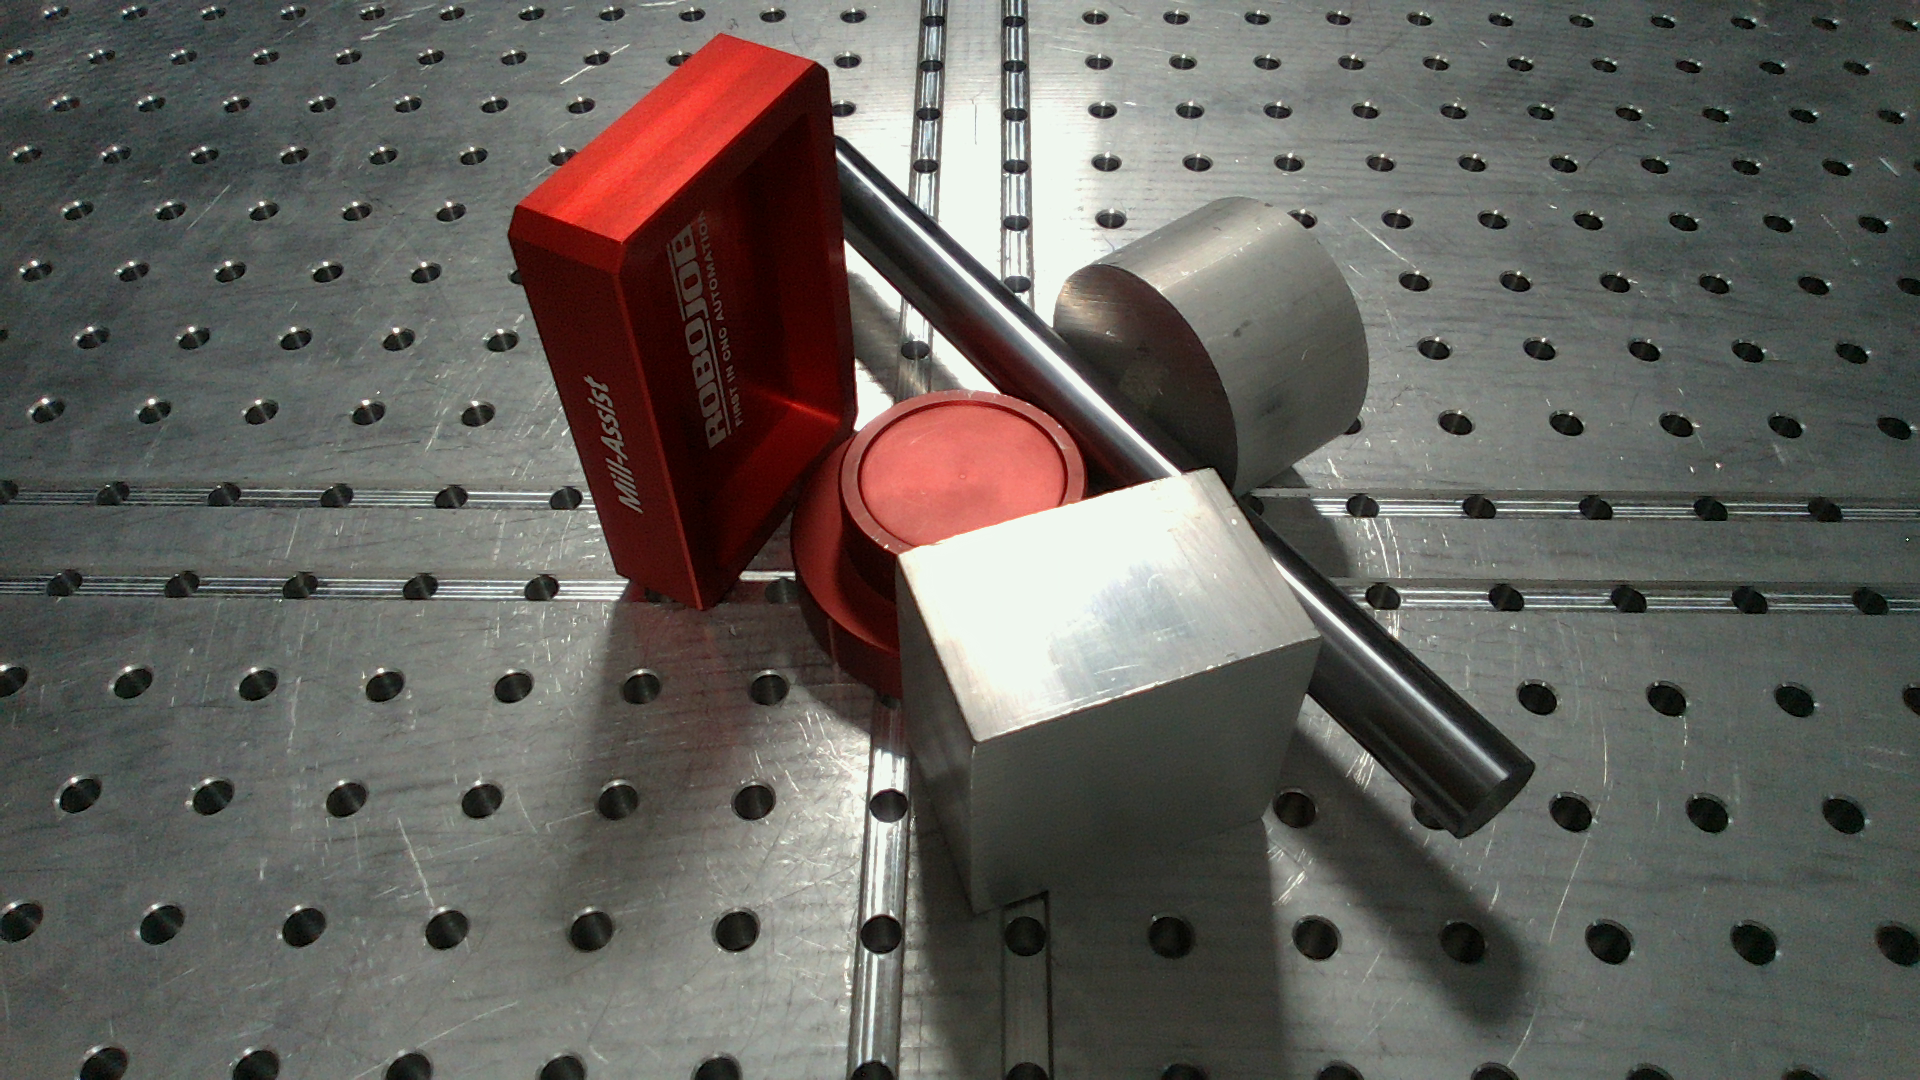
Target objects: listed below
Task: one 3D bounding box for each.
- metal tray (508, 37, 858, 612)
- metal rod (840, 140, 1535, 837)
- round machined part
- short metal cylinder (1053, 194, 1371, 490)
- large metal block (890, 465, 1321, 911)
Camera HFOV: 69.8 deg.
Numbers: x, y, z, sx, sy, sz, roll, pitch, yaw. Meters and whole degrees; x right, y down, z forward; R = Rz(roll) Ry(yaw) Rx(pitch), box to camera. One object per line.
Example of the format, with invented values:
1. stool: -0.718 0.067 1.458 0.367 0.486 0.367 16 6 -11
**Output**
1. metal tray: -0.067 -0.054 0.372 0.030 0.130 0.090 21 53 17
2. metal rod: 0.038 -0.034 0.396 0.025 0.025 0.299 -28 55 -21
3. round machined part: 0.000 -0.004 0.387 0.098 0.042 0.098 0 50 0
4. short metal cylinder: 0.072 -0.054 0.402 0.050 0.080 0.080 -30 56 -23
5. large metal block: 0.031 0.036 0.328 0.080 0.080 0.050 -15 51 -12
